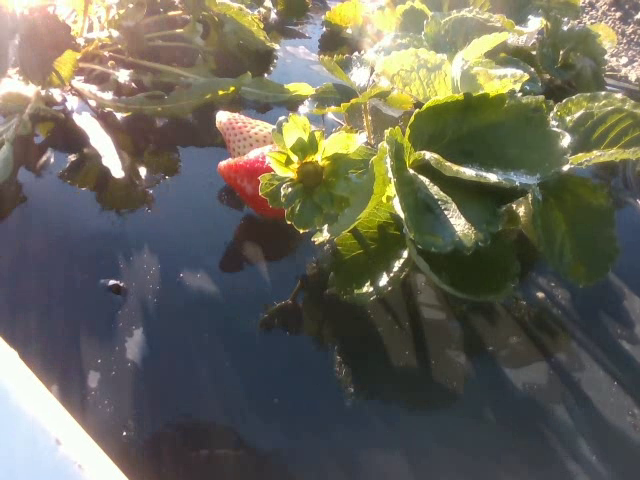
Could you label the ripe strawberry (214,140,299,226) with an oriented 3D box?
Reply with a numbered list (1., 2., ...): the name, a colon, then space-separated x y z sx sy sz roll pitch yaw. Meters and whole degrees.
1. ripe strawberry: -0.029 -0.032 0.289 0.040 0.038 0.055 8 -17 46
